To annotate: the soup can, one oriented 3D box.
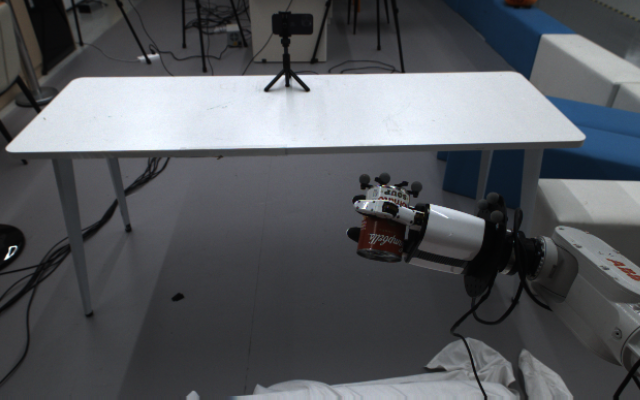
[{"bbox_3d":[0.096,0.035,0.721,0.067,0.067,0.101,8,72,9],"label":"soup can"}]
